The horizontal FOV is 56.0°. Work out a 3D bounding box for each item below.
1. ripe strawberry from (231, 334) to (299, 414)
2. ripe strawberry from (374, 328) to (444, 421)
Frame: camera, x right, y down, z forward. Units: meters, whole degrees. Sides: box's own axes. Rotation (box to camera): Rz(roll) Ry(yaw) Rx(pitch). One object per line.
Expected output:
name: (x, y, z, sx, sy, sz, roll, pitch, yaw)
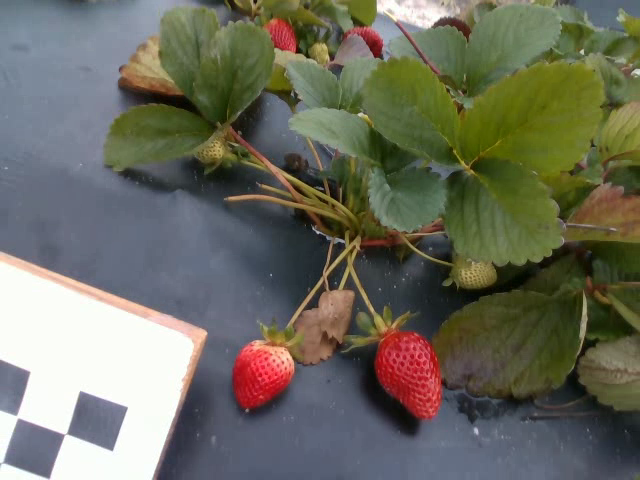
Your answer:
ripe strawberry: (-0.030, 0.069, 0.310, 0.036, 0.040, 0.027, 21, -16, 9)
ripe strawberry: (0.049, 0.071, 0.323, 0.044, 0.059, 0.042, -26, -21, 12)
